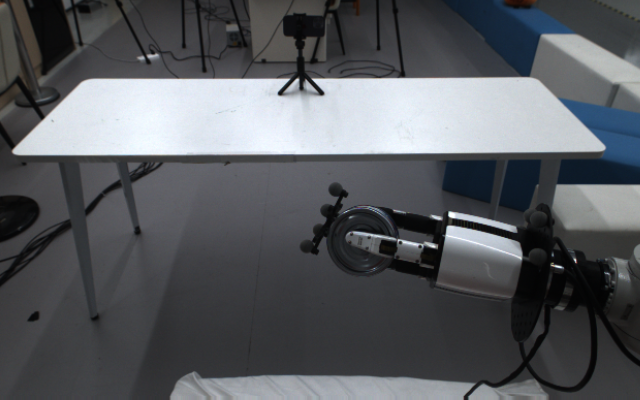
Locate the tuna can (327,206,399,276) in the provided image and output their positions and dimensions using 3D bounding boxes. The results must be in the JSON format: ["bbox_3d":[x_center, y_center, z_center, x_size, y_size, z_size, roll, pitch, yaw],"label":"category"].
[{"bbox_3d":[0.055,0.047,0.591,0.085,0.085,0.034,8,4,9],"label":"tuna can"}]
